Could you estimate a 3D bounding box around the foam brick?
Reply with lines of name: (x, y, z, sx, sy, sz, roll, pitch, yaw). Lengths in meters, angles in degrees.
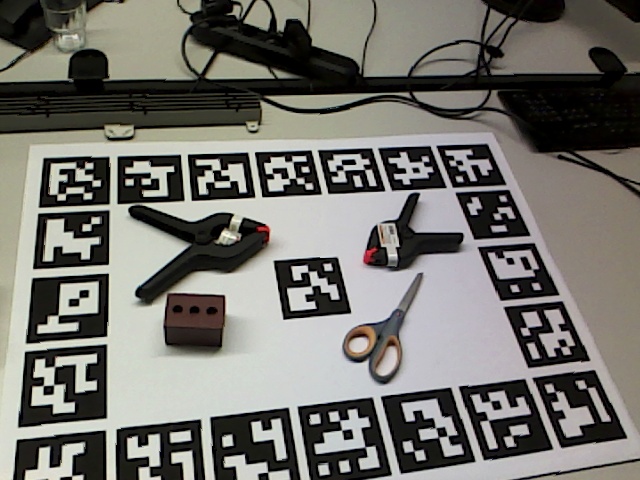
foam brick: (-0.170, 0.112, 0.855, 0.078, 0.051, 0.053, 0, 56, -4)

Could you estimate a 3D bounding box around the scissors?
scissors: (0.105, 0.116, 0.912, 0.088, 0.016, 0.202, 33, 54, 5)

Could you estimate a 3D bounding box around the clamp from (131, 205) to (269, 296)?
clamp: (-0.178, 0.003, 0.940, 0.202, 0.036, 0.166, -7, 53, -15)

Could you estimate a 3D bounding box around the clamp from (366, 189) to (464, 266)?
clamp: (0.141, -0.007, 1.005, 0.164, 0.036, 0.122, -29, 71, -26)
